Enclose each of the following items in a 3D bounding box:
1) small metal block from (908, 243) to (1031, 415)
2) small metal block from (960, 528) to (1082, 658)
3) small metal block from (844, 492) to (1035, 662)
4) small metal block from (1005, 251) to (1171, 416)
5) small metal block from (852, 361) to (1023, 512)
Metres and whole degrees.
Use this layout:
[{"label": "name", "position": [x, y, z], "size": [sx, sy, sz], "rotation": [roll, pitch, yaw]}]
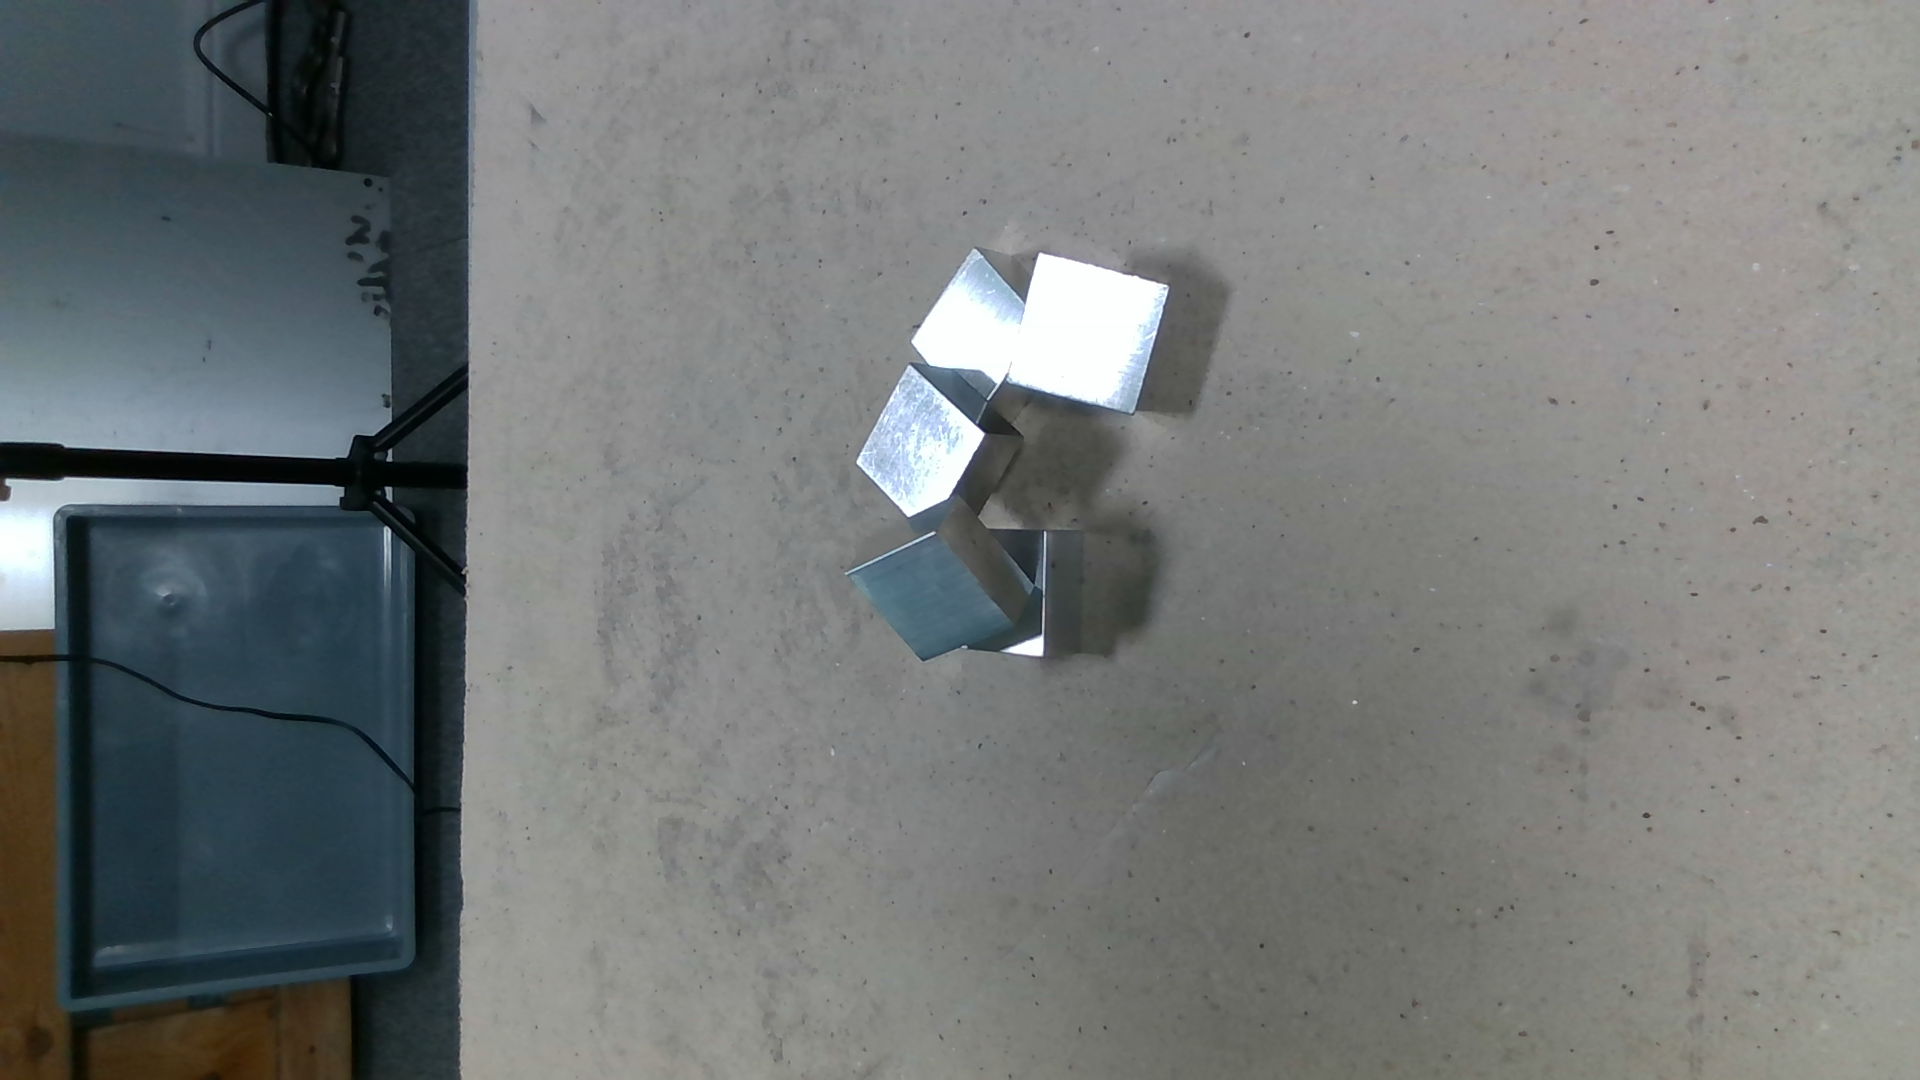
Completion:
[{"label": "small metal block", "position": [0.013, -0.085, 0.570], "size": [0.050, 0.025, 0.050], "rotation": [53, 121, 27]}, {"label": "small metal block", "position": [0.022, 0.020, 0.564], "size": [0.050, 0.025, 0.050], "rotation": [3, 92, 40]}, {"label": "small metal block", "position": [-0.008, 0.016, 0.540], "size": [0.050, 0.025, 0.050], "rotation": [-24, 115, 38]}, {"label": "small metal block", "position": [0.048, -0.079, 0.525], "size": [0.050, 0.025, 0.050], "rotation": [15, 102, 2]}, {"label": "small metal block", "position": [-0.010, -0.036, 0.556], "size": [0.050, 0.025, 0.050], "rotation": [45, 118, 31]}]
